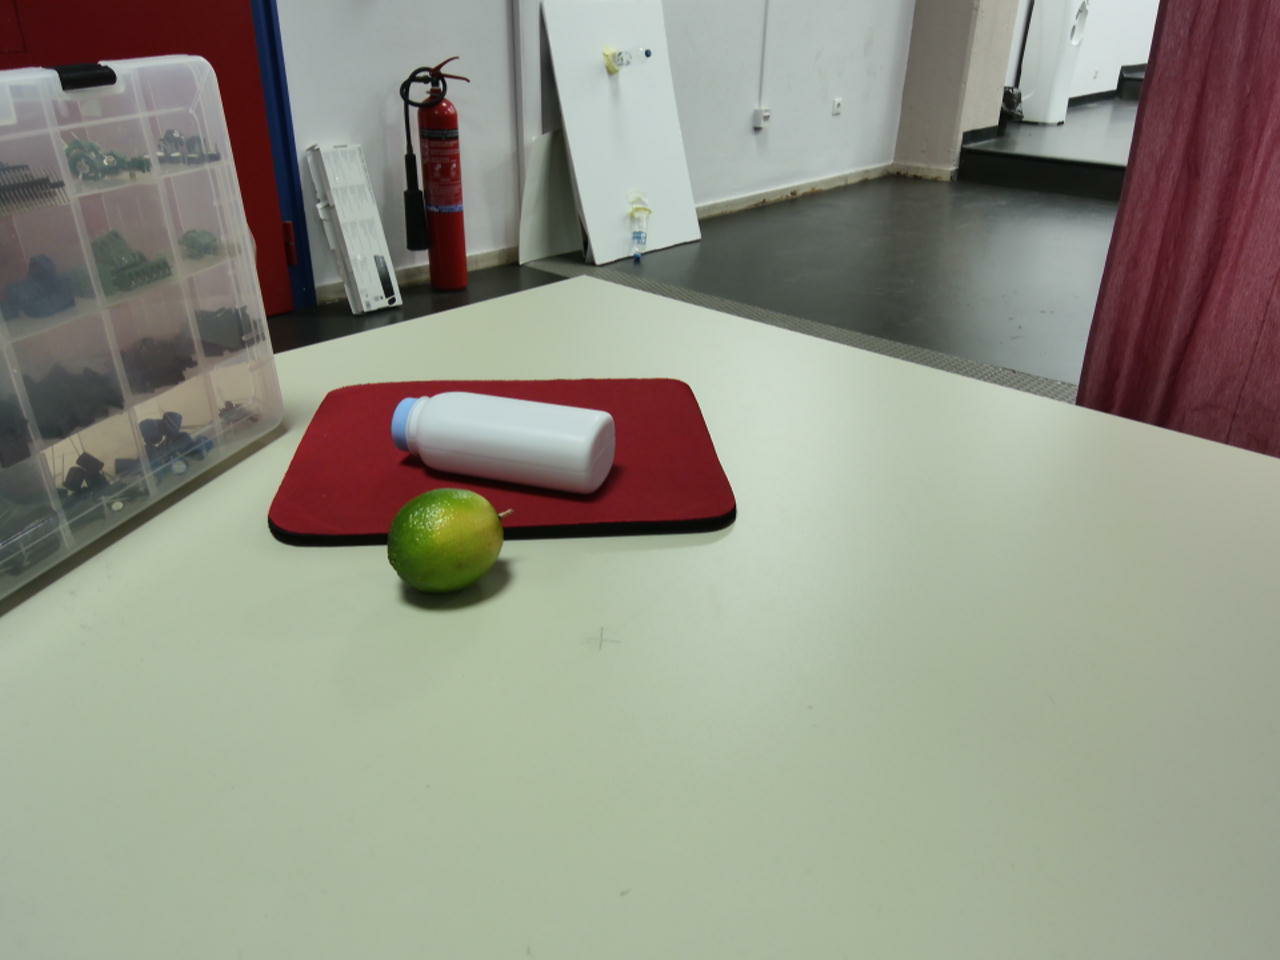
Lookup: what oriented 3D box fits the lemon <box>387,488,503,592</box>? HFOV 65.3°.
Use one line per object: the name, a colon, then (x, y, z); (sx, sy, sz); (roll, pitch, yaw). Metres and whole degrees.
lemon: (-0.096, 0.029, 0.493); (0.055, 0.050, 0.054); (2, 24, 1)
